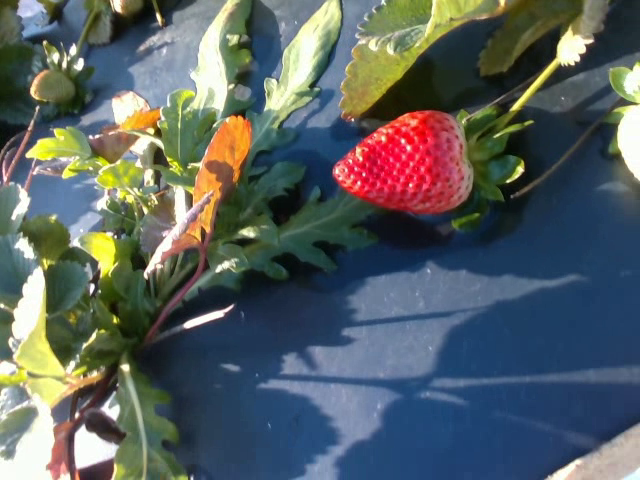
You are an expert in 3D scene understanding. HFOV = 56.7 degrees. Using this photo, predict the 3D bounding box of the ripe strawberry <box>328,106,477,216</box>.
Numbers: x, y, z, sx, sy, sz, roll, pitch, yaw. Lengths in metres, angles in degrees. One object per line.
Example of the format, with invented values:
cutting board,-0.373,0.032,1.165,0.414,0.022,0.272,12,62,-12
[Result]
ripe strawberry,0.027,-0.026,0.193,0.053,0.043,0.036,-9,8,-4
